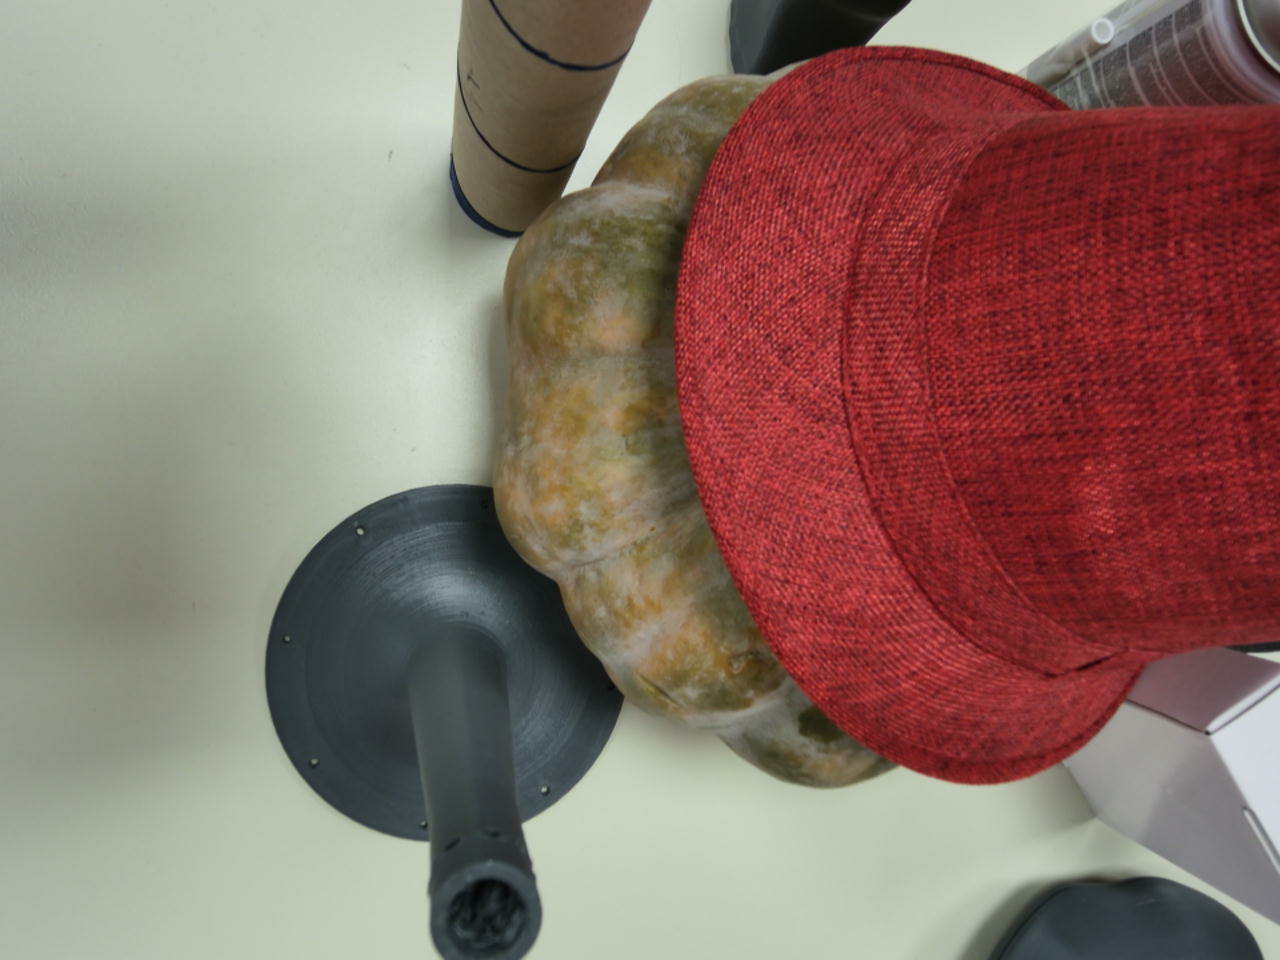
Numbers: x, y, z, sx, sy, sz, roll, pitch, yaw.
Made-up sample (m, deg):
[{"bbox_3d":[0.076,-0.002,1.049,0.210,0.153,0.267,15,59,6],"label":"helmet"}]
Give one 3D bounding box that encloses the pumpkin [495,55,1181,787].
[{"bbox_3d":[0.067,-0.027,0.366,0.252,0.169,0.252,0,91,-12],"label":"pumpkin"}]
